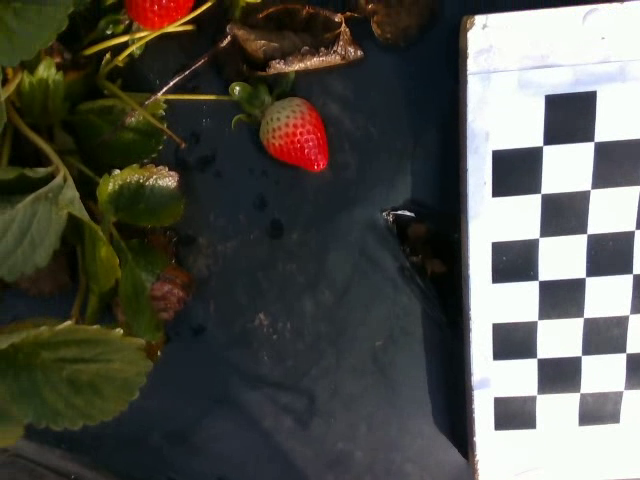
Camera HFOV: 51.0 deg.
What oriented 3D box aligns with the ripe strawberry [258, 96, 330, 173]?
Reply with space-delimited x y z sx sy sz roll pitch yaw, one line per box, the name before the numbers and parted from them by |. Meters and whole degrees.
ripe strawberry | -0.011 -0.050 0.323 0.035 0.043 0.030 -41 11 14
